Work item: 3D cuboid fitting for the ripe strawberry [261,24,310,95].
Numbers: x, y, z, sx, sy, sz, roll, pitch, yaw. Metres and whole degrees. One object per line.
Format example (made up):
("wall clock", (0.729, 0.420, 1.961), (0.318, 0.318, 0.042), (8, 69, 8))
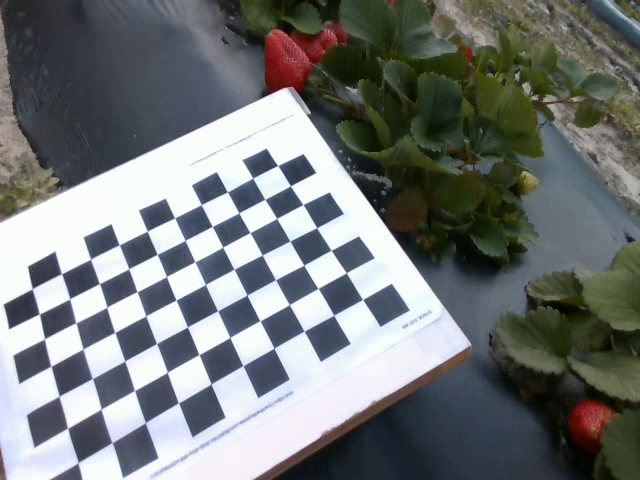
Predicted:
("ripe strawberry", (-0.039, -0.175, 0.556), (0.057, 0.056, 0.065), (7, -30, 32))
